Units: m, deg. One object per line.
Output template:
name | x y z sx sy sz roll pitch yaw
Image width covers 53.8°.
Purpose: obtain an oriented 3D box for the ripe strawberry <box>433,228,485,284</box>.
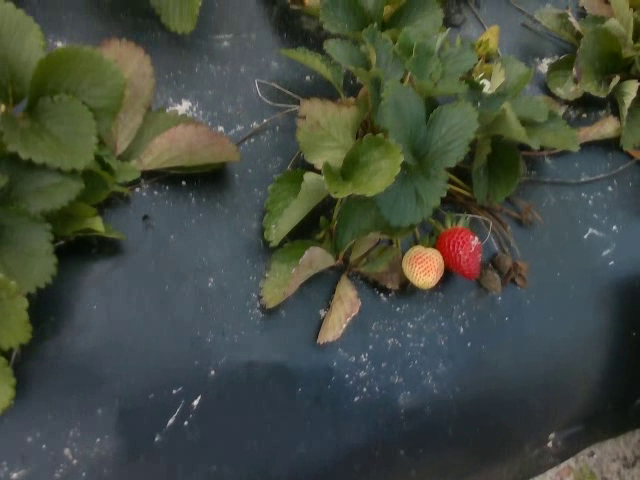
ripe strawberry | 0.093 0.010 0.403 0.034 0.033 0.041 22 30 -25
